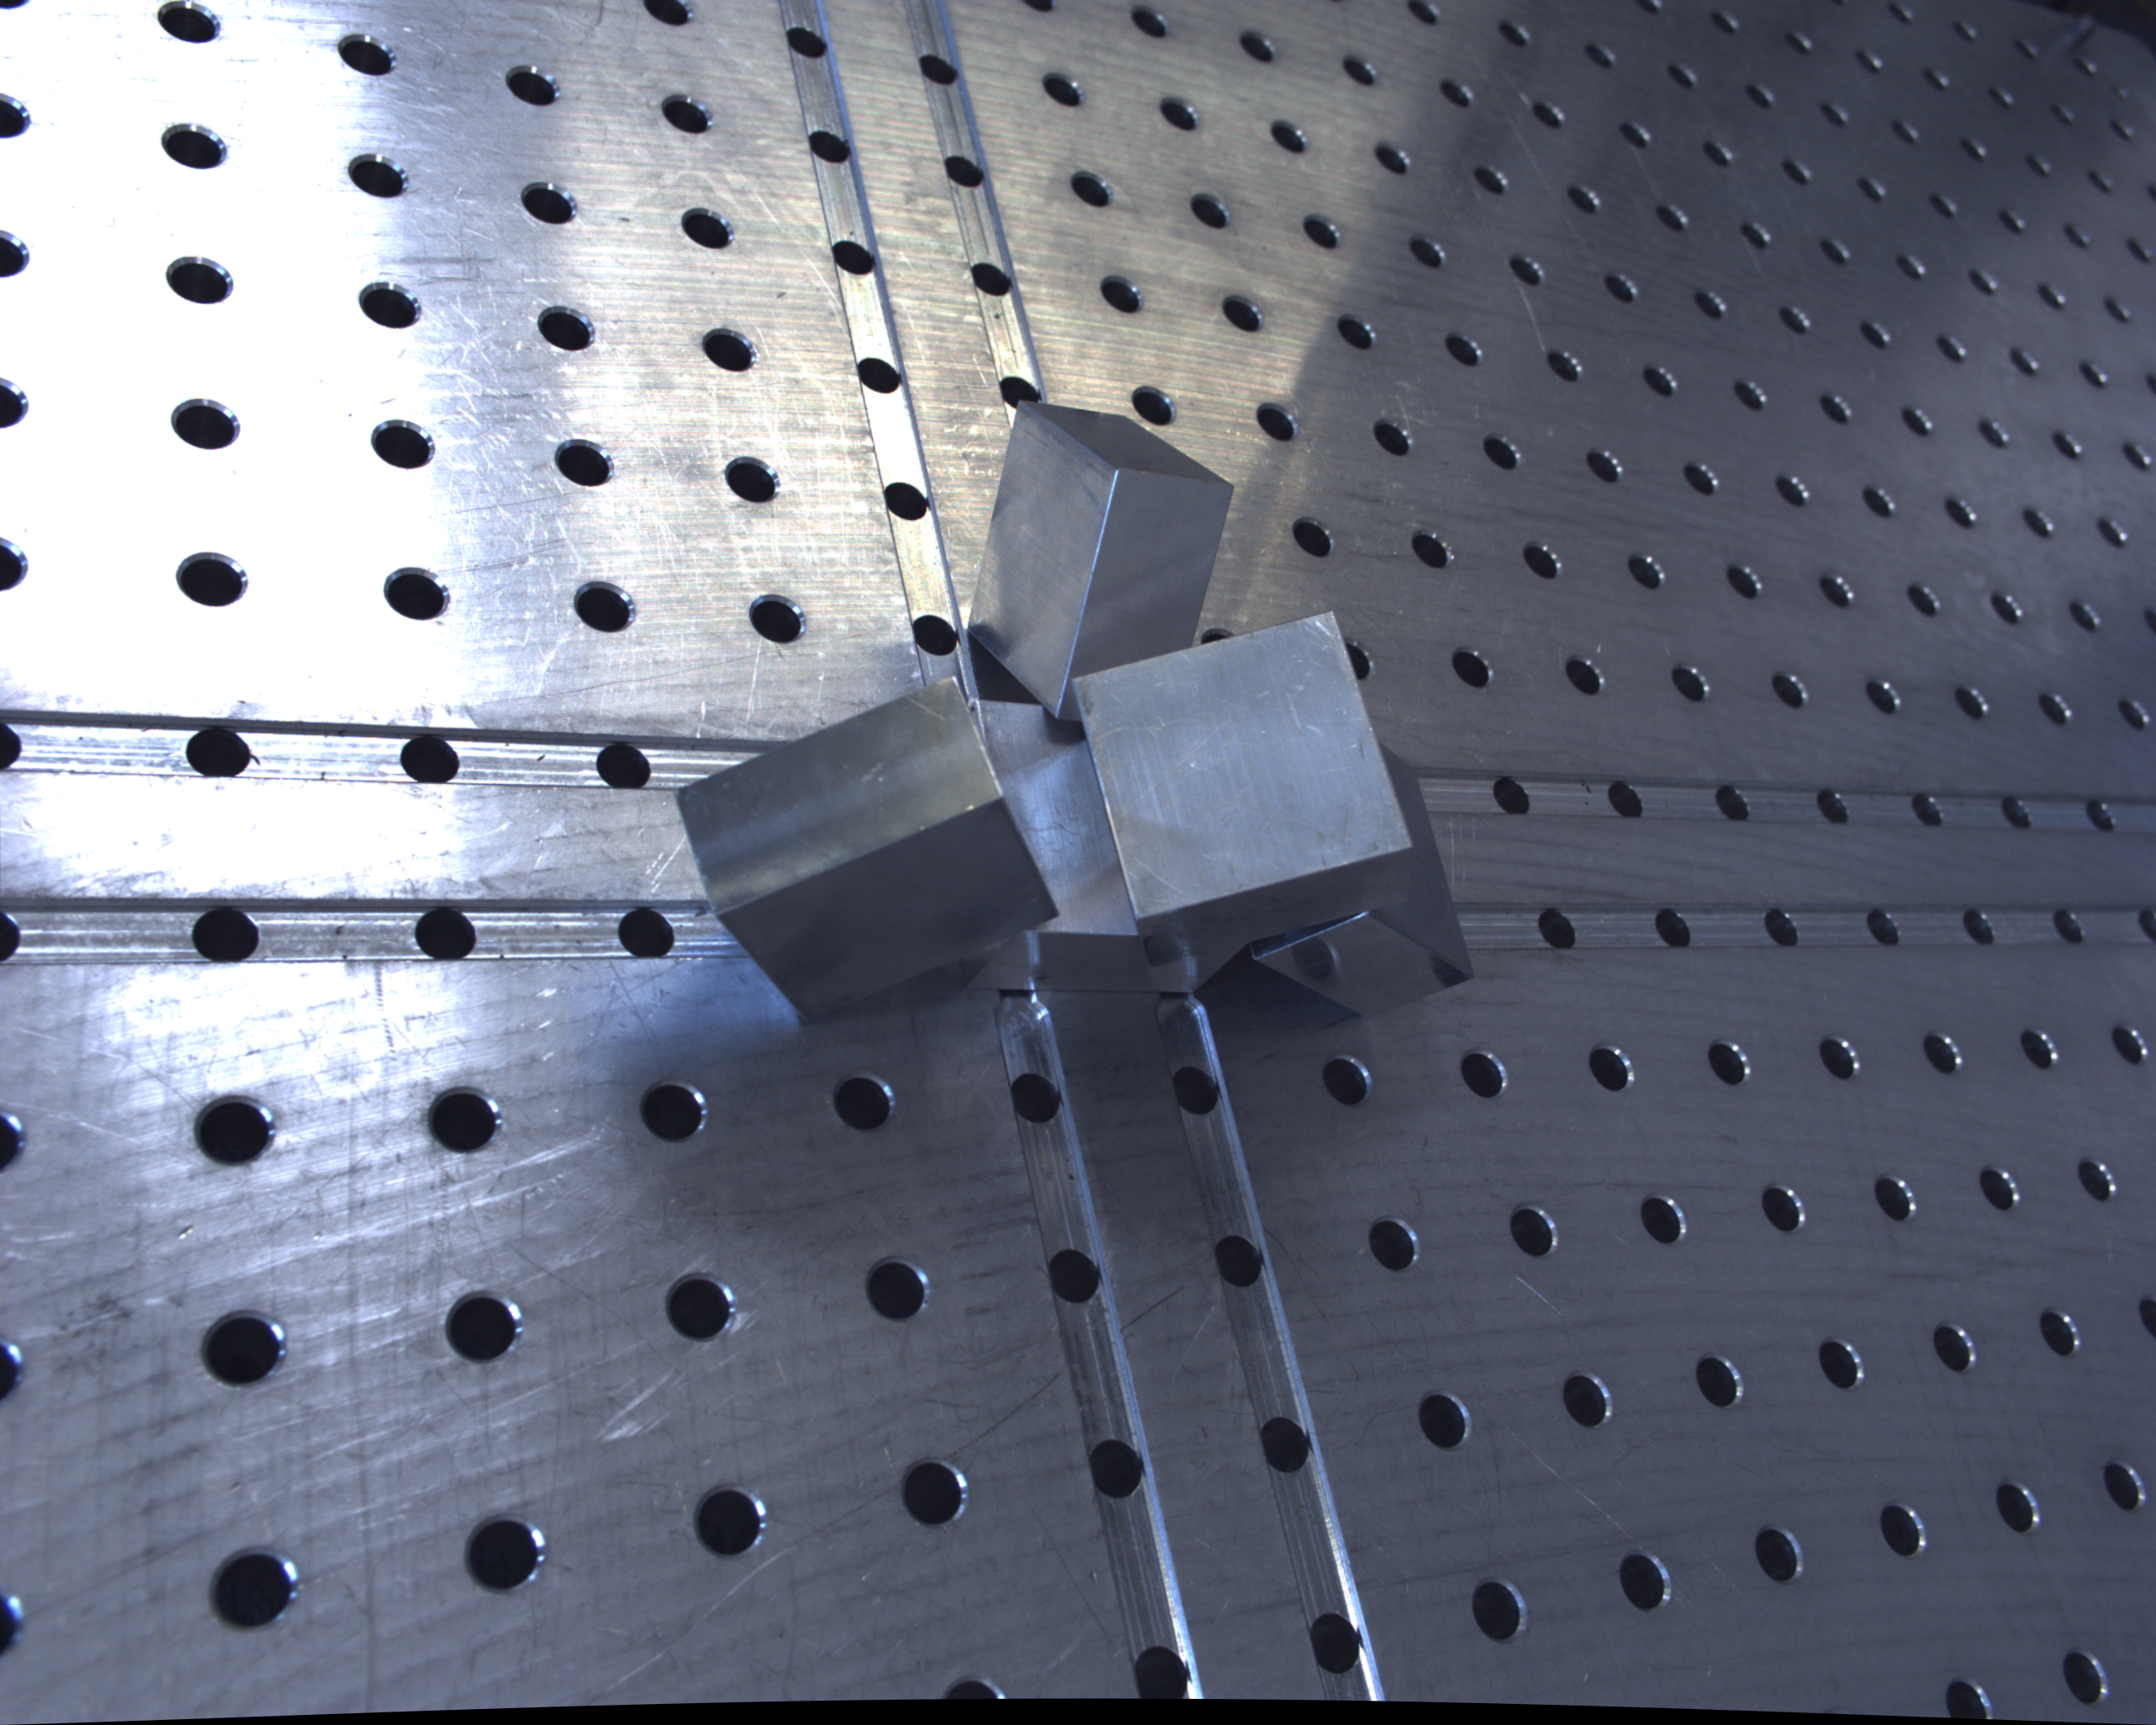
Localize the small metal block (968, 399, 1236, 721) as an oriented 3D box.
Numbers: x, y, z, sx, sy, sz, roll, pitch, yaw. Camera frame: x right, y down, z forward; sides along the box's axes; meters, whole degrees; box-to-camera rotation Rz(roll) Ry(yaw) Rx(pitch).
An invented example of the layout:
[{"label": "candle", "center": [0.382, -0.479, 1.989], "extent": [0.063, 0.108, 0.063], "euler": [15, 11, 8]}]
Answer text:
[{"label": "small metal block", "center": [0.003, -0.060, 0.417], "extent": [0.025, 0.050, 0.050], "euler": [3, 25, -26]}]

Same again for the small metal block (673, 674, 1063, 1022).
[{"label": "small metal block", "center": [-0.035, -0.001, 0.361], "extent": [0.050, 0.050, 0.025], "euler": [-22, 64, 0]}]

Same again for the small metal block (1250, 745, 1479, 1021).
[{"label": "small metal block", "center": [0.053, 0.000, 0.422], "extent": [0.050, 0.025, 0.050], "euler": [27, 45, -52]}]

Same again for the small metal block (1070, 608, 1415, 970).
[{"label": "small metal block", "center": [0.030, -0.013, 0.385], "extent": [0.050, 0.025, 0.050], "euler": [-15, 65, 1]}]

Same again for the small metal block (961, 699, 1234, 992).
[{"label": "small metal block", "center": [0.001, -0.003, 0.410], "extent": [0.050, 0.025, 0.050], "euler": [2, 61, -27]}]
